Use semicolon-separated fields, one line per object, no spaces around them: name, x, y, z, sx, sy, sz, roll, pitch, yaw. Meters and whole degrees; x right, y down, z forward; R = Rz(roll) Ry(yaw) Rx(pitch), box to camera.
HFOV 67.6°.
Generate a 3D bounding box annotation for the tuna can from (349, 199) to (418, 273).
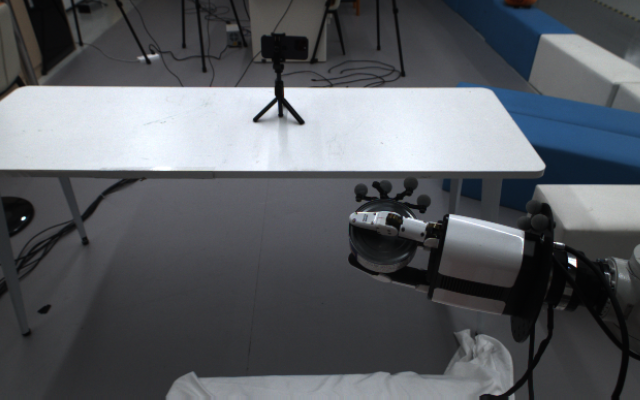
tuna can;0.078;0.039;0.582;0.085;0.034;0.085;-2;56;3
